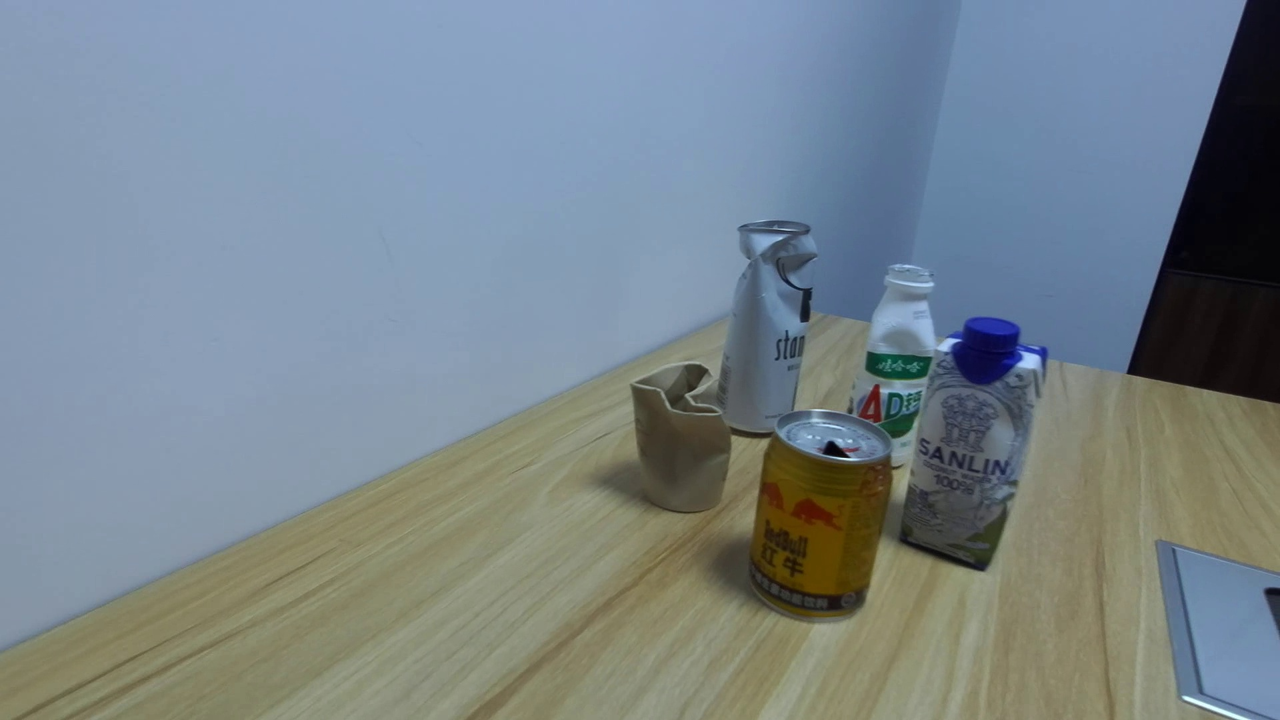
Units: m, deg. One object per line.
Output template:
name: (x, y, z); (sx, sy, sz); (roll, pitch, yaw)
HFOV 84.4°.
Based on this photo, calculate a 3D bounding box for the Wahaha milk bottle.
Wahaha milk bottle: (0.187, 0.004, 0.520); (0.055, 0.149, 0.055); (4, 18, -1)

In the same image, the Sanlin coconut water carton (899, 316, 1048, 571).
Sanlin coconut water carton: (0.197, 0.045, 0.418); (0.060, 0.144, 0.061); (16, 21, 32)

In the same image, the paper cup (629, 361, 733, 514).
paper cup: (0.033, 0.052, 0.456); (0.058, 0.083, 0.067); (21, 27, 34)

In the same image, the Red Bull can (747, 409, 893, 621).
Red Bull can: (0.095, 0.079, 0.372); (0.067, 0.093, 0.067); (4, 22, -1)

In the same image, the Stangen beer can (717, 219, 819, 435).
Stangen beer can: (0.098, -0.025, 0.561); (0.066, 0.166, 0.065); (-6, 22, -22)
